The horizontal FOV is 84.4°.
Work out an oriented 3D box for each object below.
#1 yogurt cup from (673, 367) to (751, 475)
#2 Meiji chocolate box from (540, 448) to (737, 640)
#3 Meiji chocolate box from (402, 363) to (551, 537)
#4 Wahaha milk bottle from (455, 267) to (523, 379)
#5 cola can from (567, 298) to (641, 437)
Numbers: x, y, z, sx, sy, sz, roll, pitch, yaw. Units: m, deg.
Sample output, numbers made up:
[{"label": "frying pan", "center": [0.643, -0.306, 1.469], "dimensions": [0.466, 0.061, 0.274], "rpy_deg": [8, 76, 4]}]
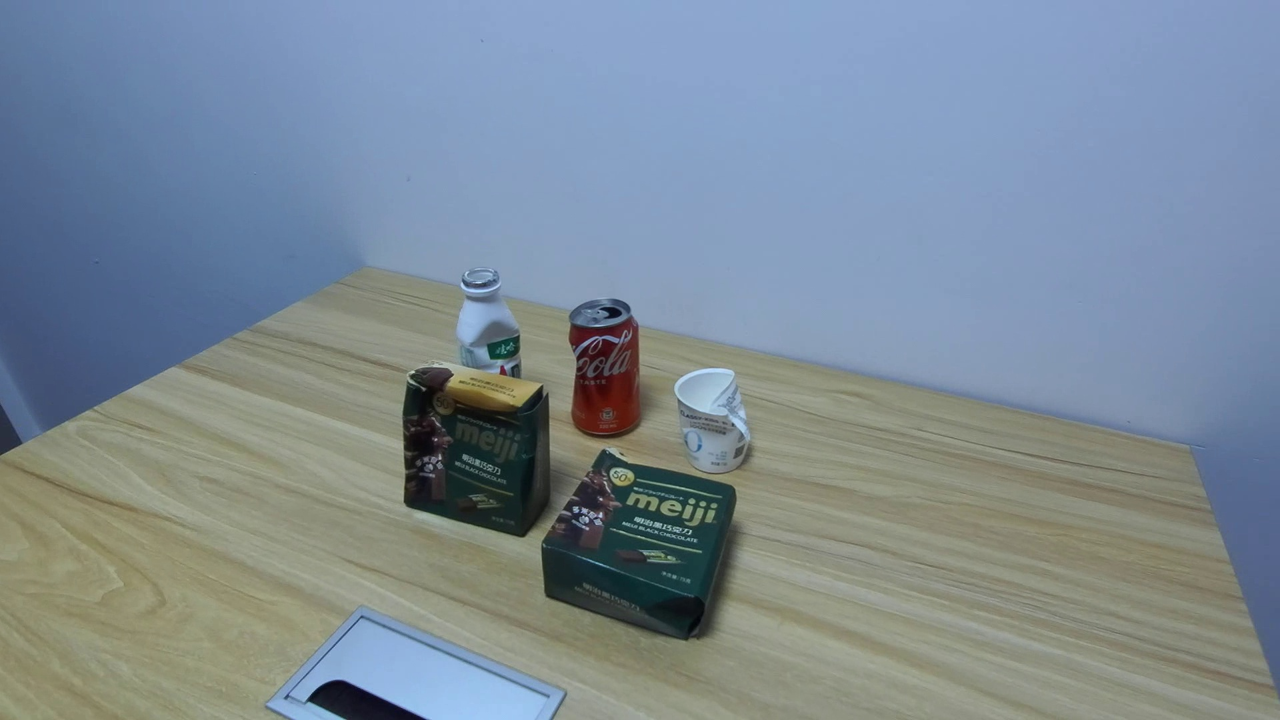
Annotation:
[{"label": "yogurt cup", "center": [0.062, 0.054, 0.605], "dimensions": [0.067, 0.070, 0.067], "rpy_deg": [-1, 34, 1]}, {"label": "Meiji chocolate box", "center": [0.004, 0.128, 0.502], "dimensions": [0.115, 0.058, 0.122], "rpy_deg": [13, 37, 16]}, {"label": "Meiji chocolate box", "center": [-0.126, 0.066, 0.550], "dimensions": [0.117, 0.117, 0.052], "rpy_deg": [10, 24, 16]}, {"label": "Wahaha milk bottle", "center": [-0.136, -0.010, 0.637], "dimensions": [0.056, 0.148, 0.056], "rpy_deg": [2, 32, -1]}, {"label": "cola can", "center": [-0.031, 0.008, 0.639], "dimensions": [0.065, 0.117, 0.072], "rpy_deg": [9, 31, 13]}]
